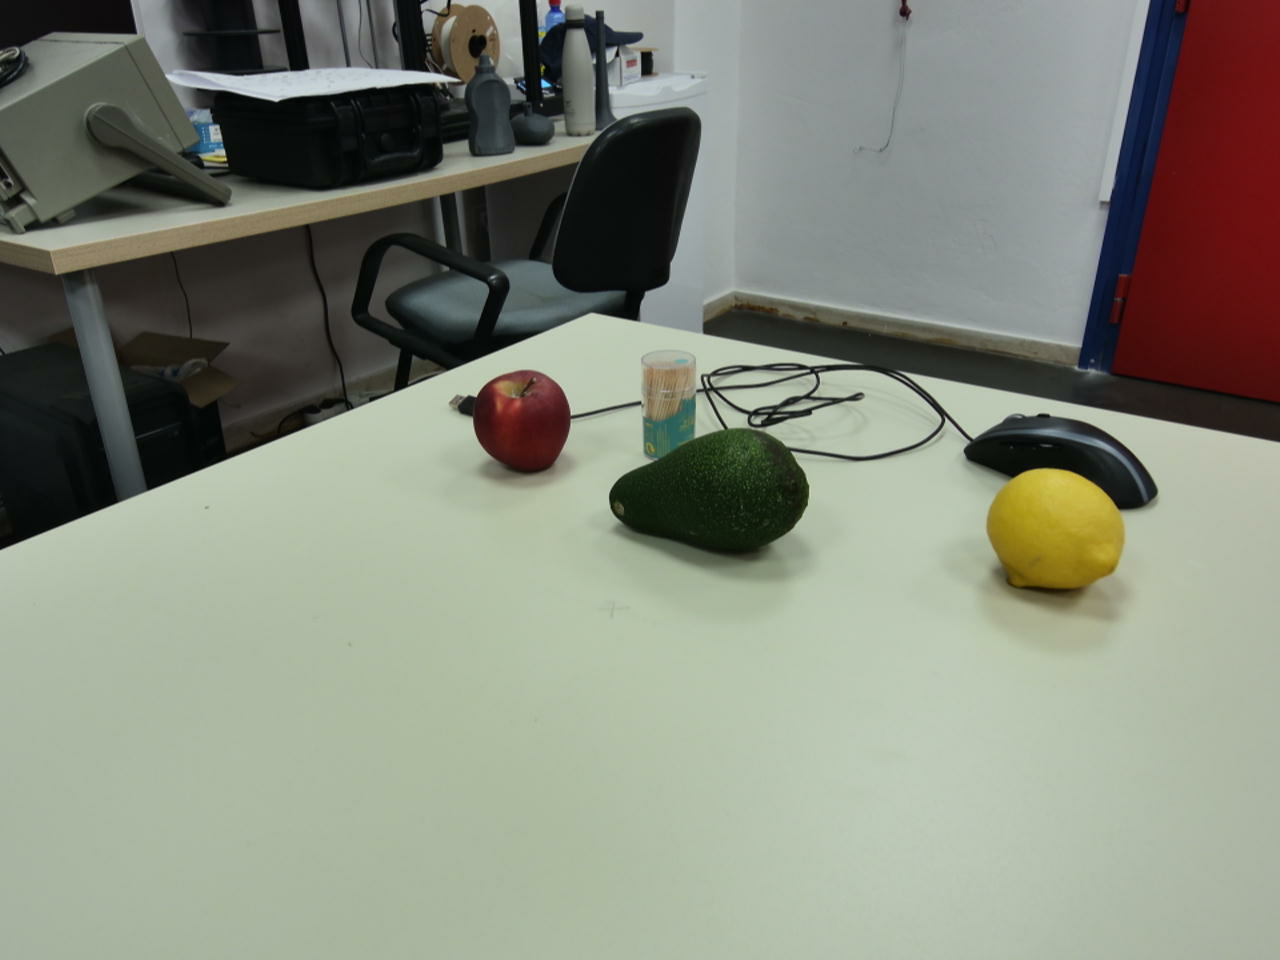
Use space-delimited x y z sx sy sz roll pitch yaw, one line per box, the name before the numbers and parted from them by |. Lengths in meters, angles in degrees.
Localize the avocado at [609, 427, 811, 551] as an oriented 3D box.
avocado | 0.046 0.002 0.607 0.123 0.076 0.074 20 32 38
